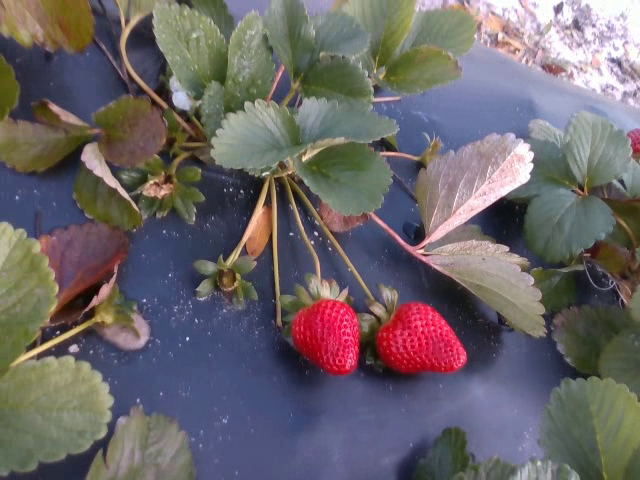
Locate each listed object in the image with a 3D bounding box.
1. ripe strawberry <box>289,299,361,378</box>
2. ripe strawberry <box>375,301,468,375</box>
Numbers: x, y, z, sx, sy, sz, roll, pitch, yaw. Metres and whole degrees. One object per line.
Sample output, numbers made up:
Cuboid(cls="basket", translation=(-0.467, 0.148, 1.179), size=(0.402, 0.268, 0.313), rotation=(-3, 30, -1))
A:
Cuboid(cls="ripe strawberry", translation=(0.008, 0.062, 0.377), size=(0.048, 0.056, 0.041), rotation=(-3, -44, -23))
Cuboid(cls="ripe strawberry", translation=(0.068, 0.065, 0.393), size=(0.064, 0.051, 0.057), rotation=(29, 53, 30))
